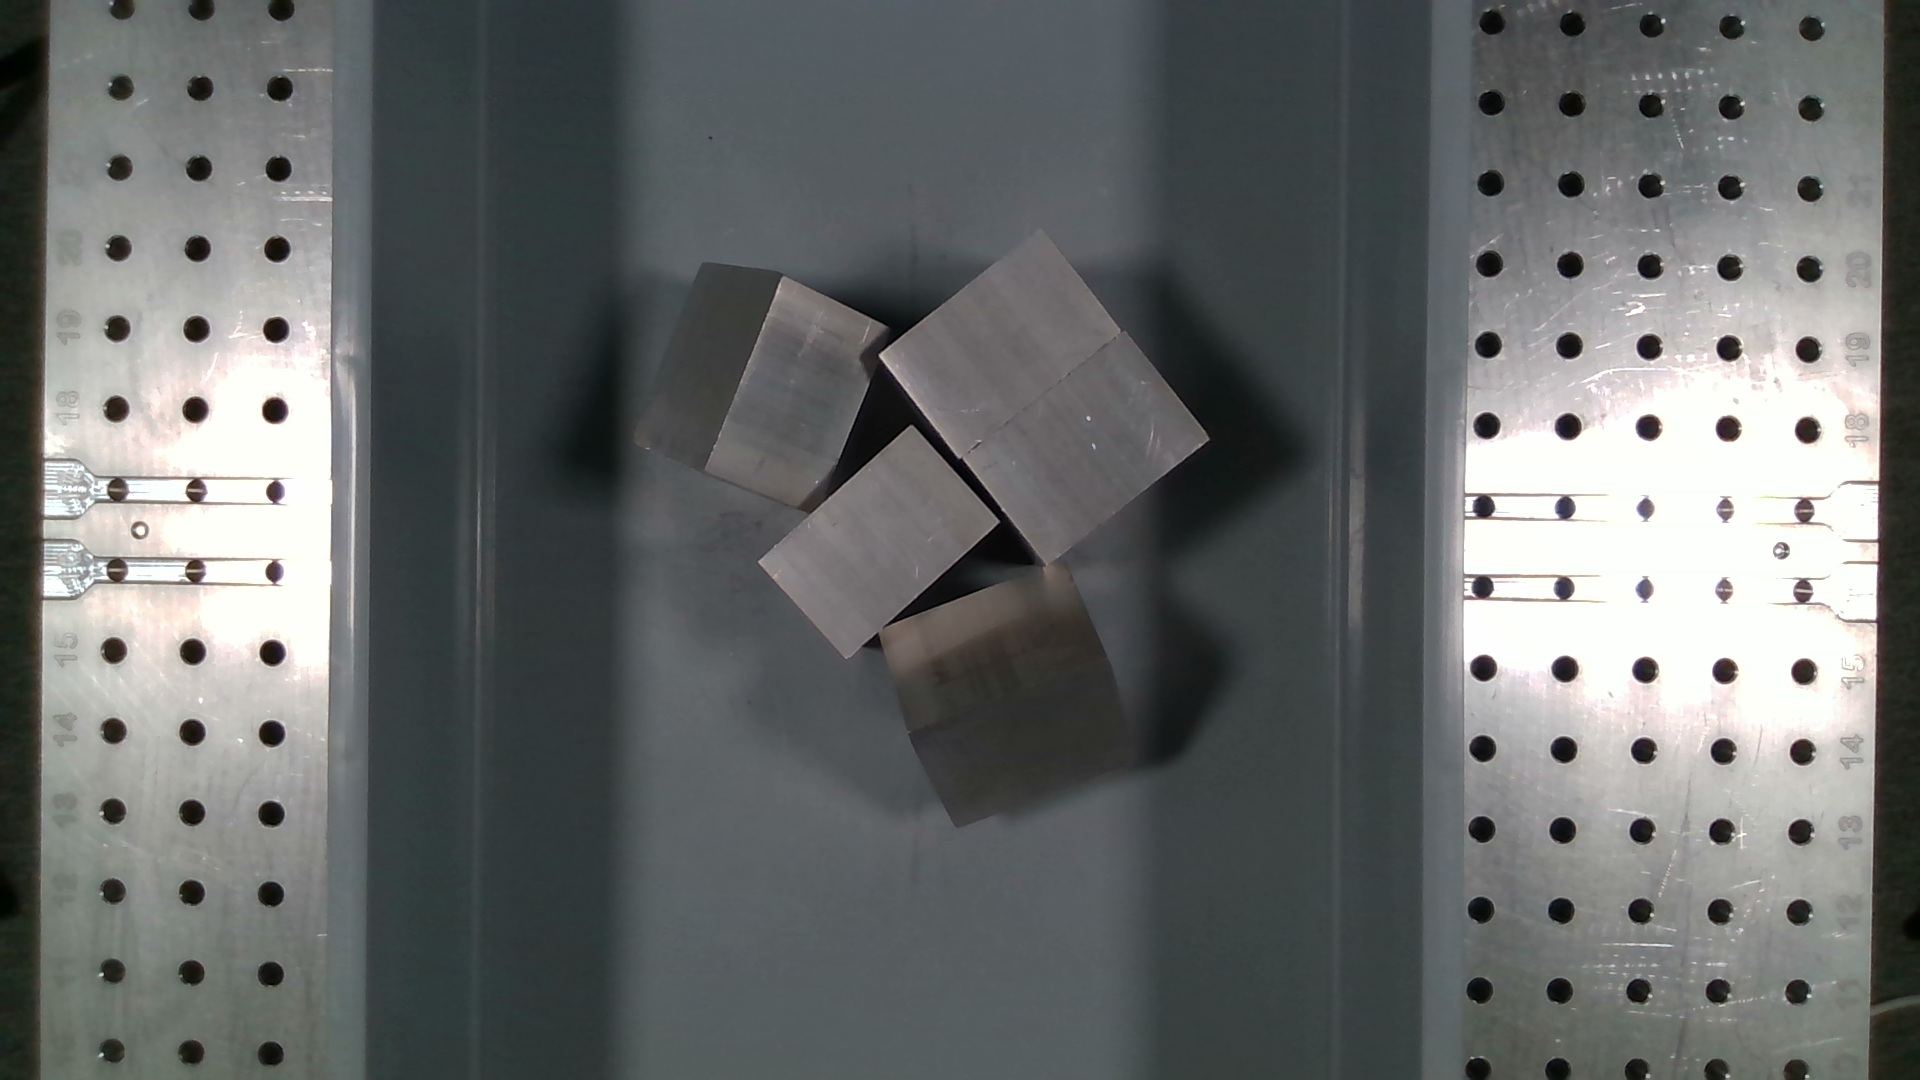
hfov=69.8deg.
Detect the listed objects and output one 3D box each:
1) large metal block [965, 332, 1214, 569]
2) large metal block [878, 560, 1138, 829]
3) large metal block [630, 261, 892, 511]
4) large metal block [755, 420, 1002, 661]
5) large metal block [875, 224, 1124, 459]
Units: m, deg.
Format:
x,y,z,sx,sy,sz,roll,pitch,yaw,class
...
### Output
x,y,z,sx,sy,sz,roll,pitch,yaw,class
0.049,-0.034,0.558,0.080,0.080,0.050,-39,90,0,large metal block
0.020,0.063,0.553,0.080,0.080,0.050,-21,50,0,large metal block
-0.082,-0.062,0.551,0.050,0.080,0.080,22,90,-35,large metal block
-0.031,0.000,0.558,0.080,0.080,0.050,-42,90,0,large metal block
0.015,-0.075,0.558,0.080,0.080,0.050,-38,90,0,large metal block
